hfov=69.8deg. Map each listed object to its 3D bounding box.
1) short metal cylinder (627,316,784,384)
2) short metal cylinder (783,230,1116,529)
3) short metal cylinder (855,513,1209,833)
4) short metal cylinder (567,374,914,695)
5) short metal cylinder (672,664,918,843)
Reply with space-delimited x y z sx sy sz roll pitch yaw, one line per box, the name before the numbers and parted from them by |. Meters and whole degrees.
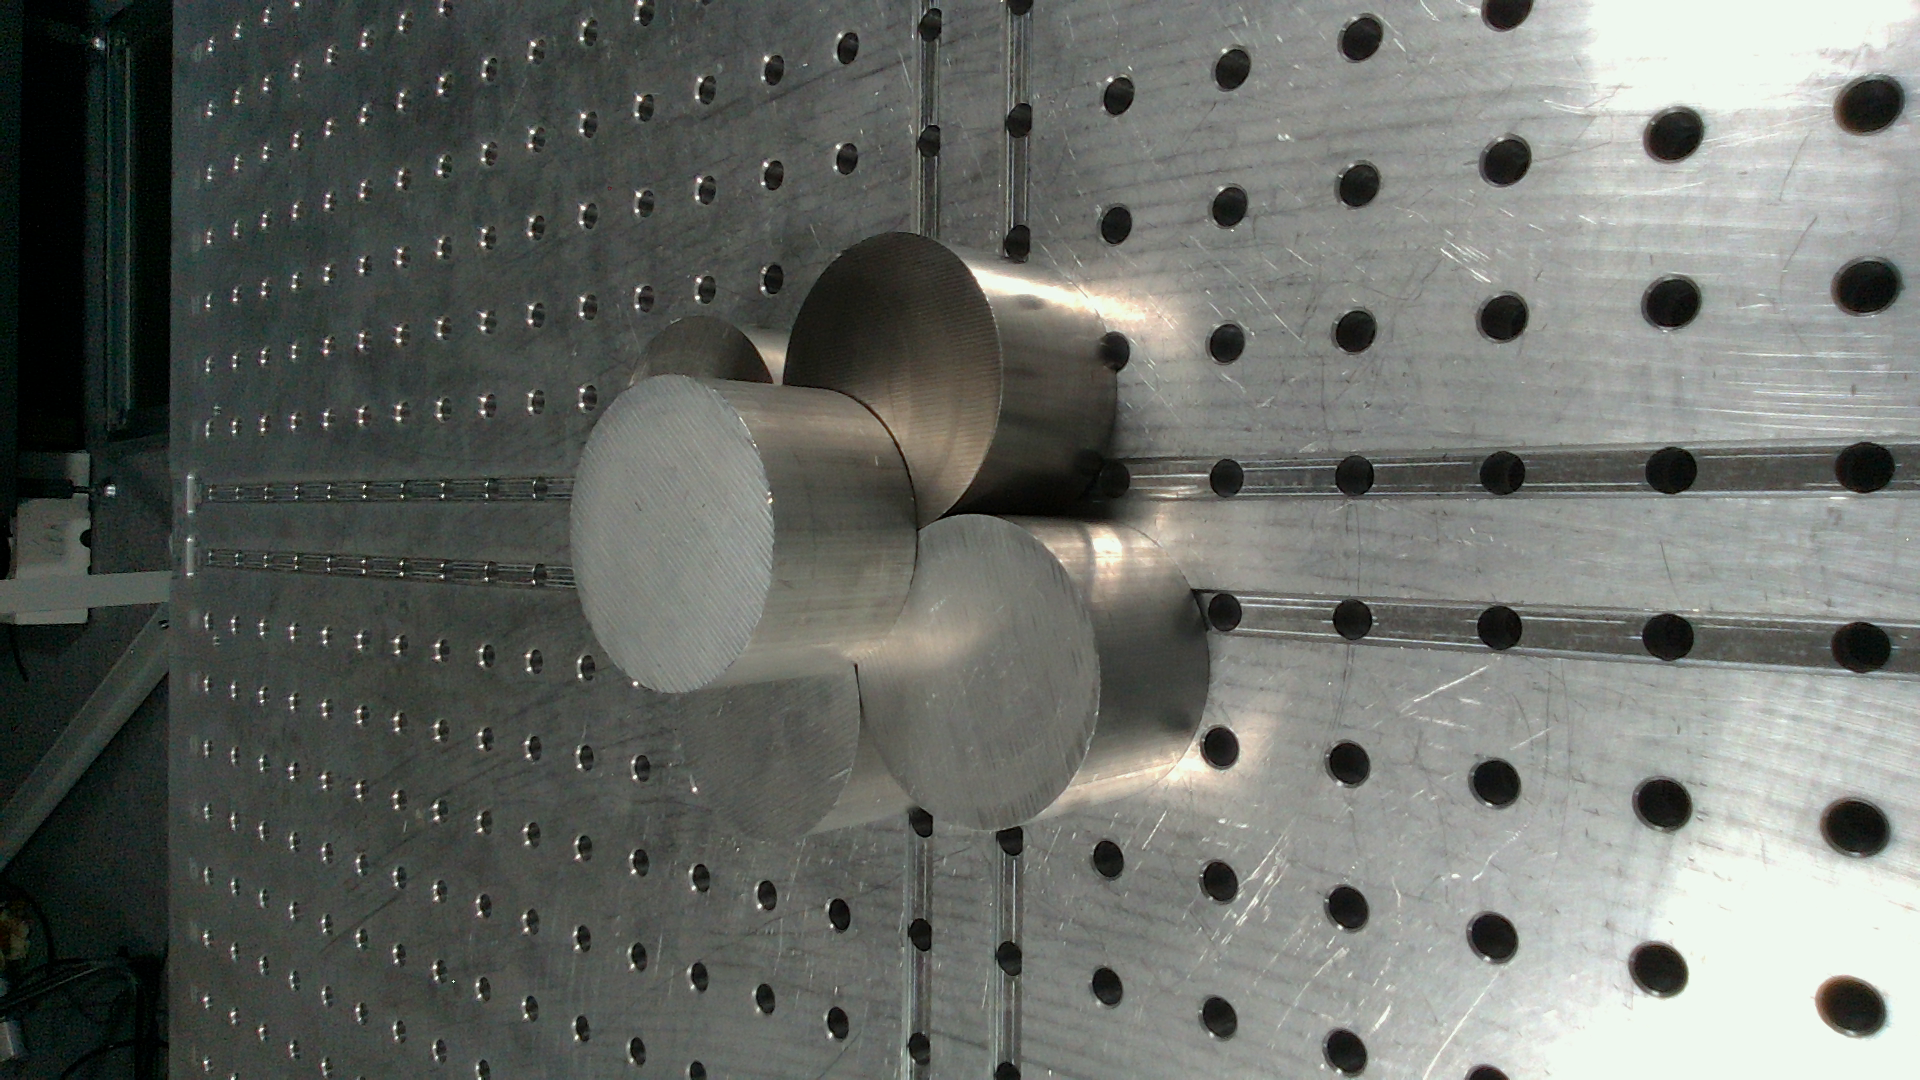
short metal cylinder | -0.065 -0.028 0.435 0.080 0.050 0.080 0 90 40
short metal cylinder | -0.004 -0.042 0.384 0.080 0.050 0.080 0 90 40
short metal cylinder | 0.018 0.033 0.365 0.080 0.050 0.080 0 90 40
short metal cylinder | -0.059 -0.002 0.363 0.080 0.050 0.080 2 92 39
short metal cylinder | -0.042 0.047 0.416 0.080 0.050 0.080 0 90 40
